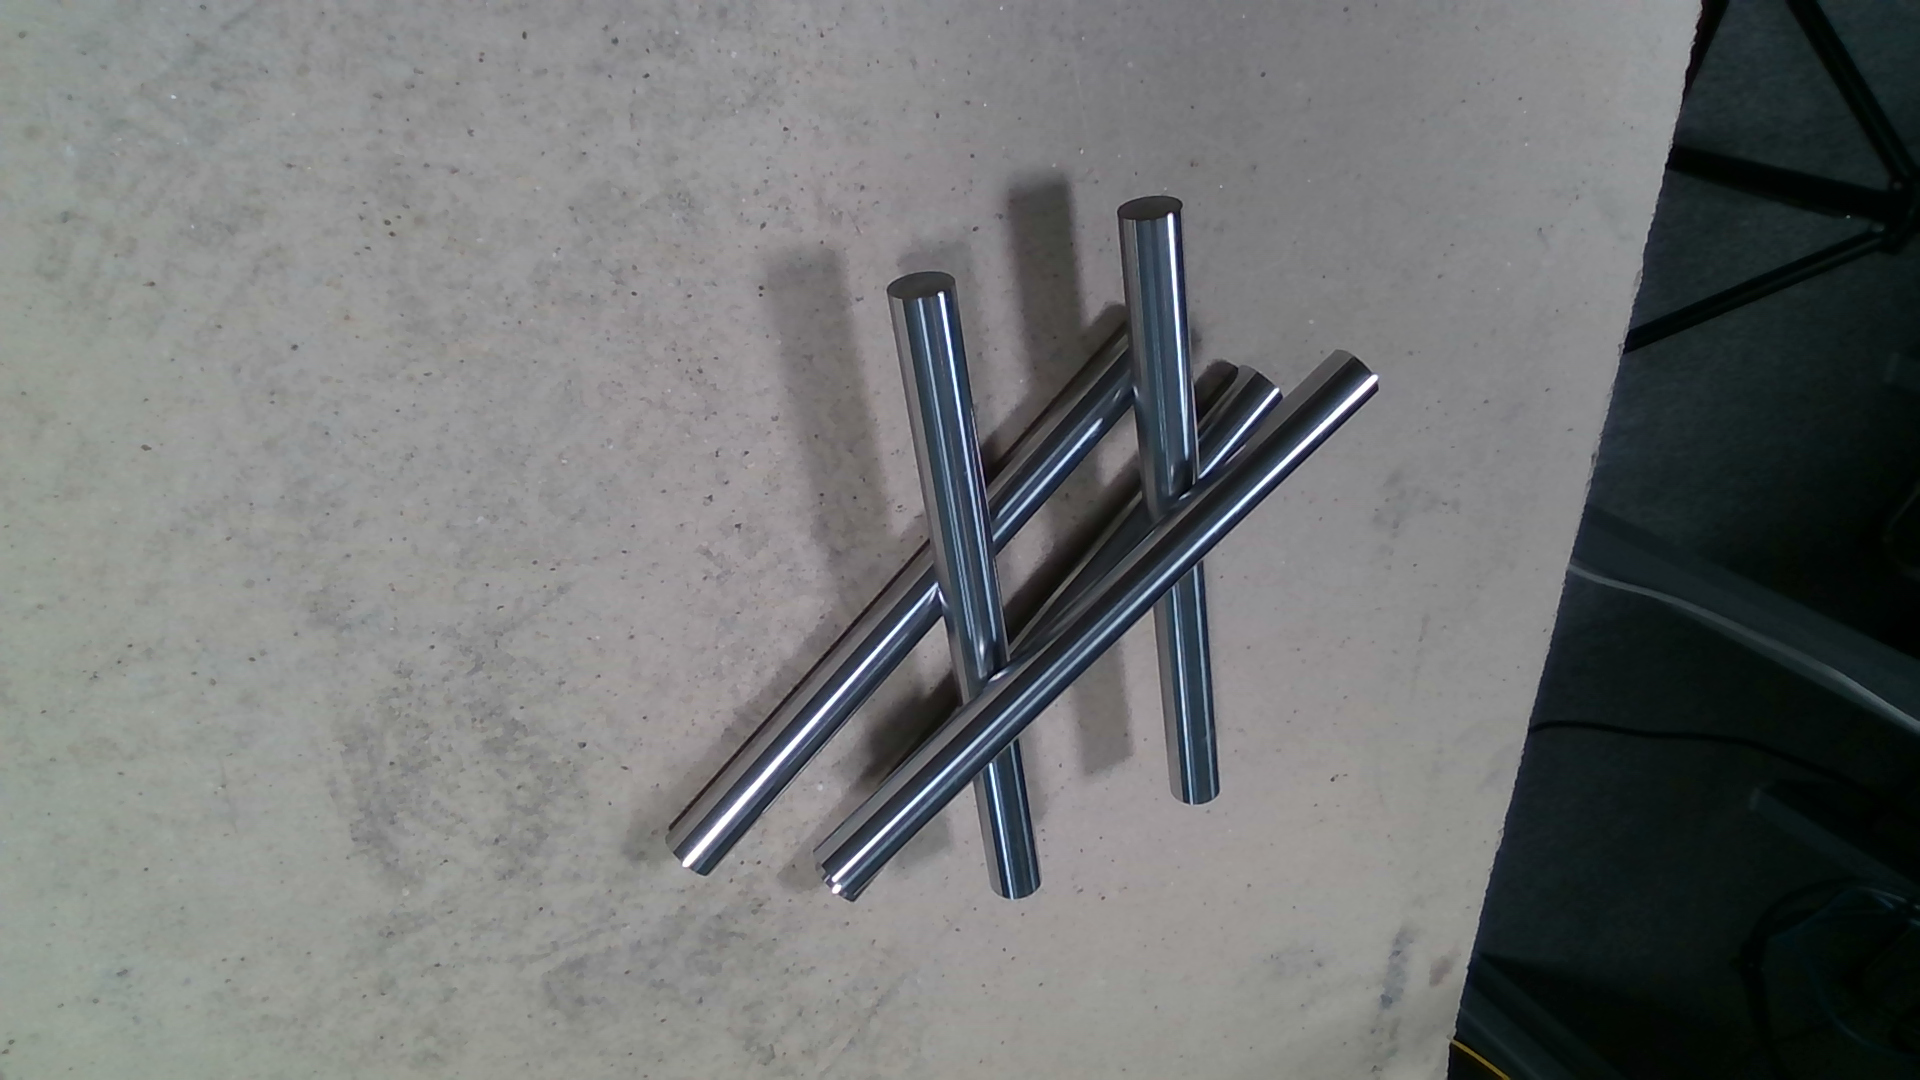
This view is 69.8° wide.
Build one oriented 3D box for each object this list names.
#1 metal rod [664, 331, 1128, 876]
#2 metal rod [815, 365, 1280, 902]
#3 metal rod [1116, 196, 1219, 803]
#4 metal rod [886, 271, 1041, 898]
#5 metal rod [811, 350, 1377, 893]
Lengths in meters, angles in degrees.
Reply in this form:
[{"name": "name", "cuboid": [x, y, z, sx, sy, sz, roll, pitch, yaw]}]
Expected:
[{"name": "metal rod", "cuboid": [-0.015, 0.021, 0.582, 0.300, 0.025, 0.025, -48, 129, 0]}, {"name": "metal rod", "cuboid": [0.040, 0.043, 0.628, 0.300, 0.025, 0.025, -50, 129, 1]}, {"name": "metal rod", "cuboid": [0.095, -0.002, 0.606, 0.025, 0.025, 0.301, -23, 125, -19]}, {"name": "metal rod", "cuboid": [0.006, 0.034, 0.571, 0.025, 0.025, 0.301, -22, 125, -20]}, {"name": "metal rod", "cuboid": [0.057, 0.032, 0.569, 0.300, 0.025, 0.025, -43, 129, -4]}]
